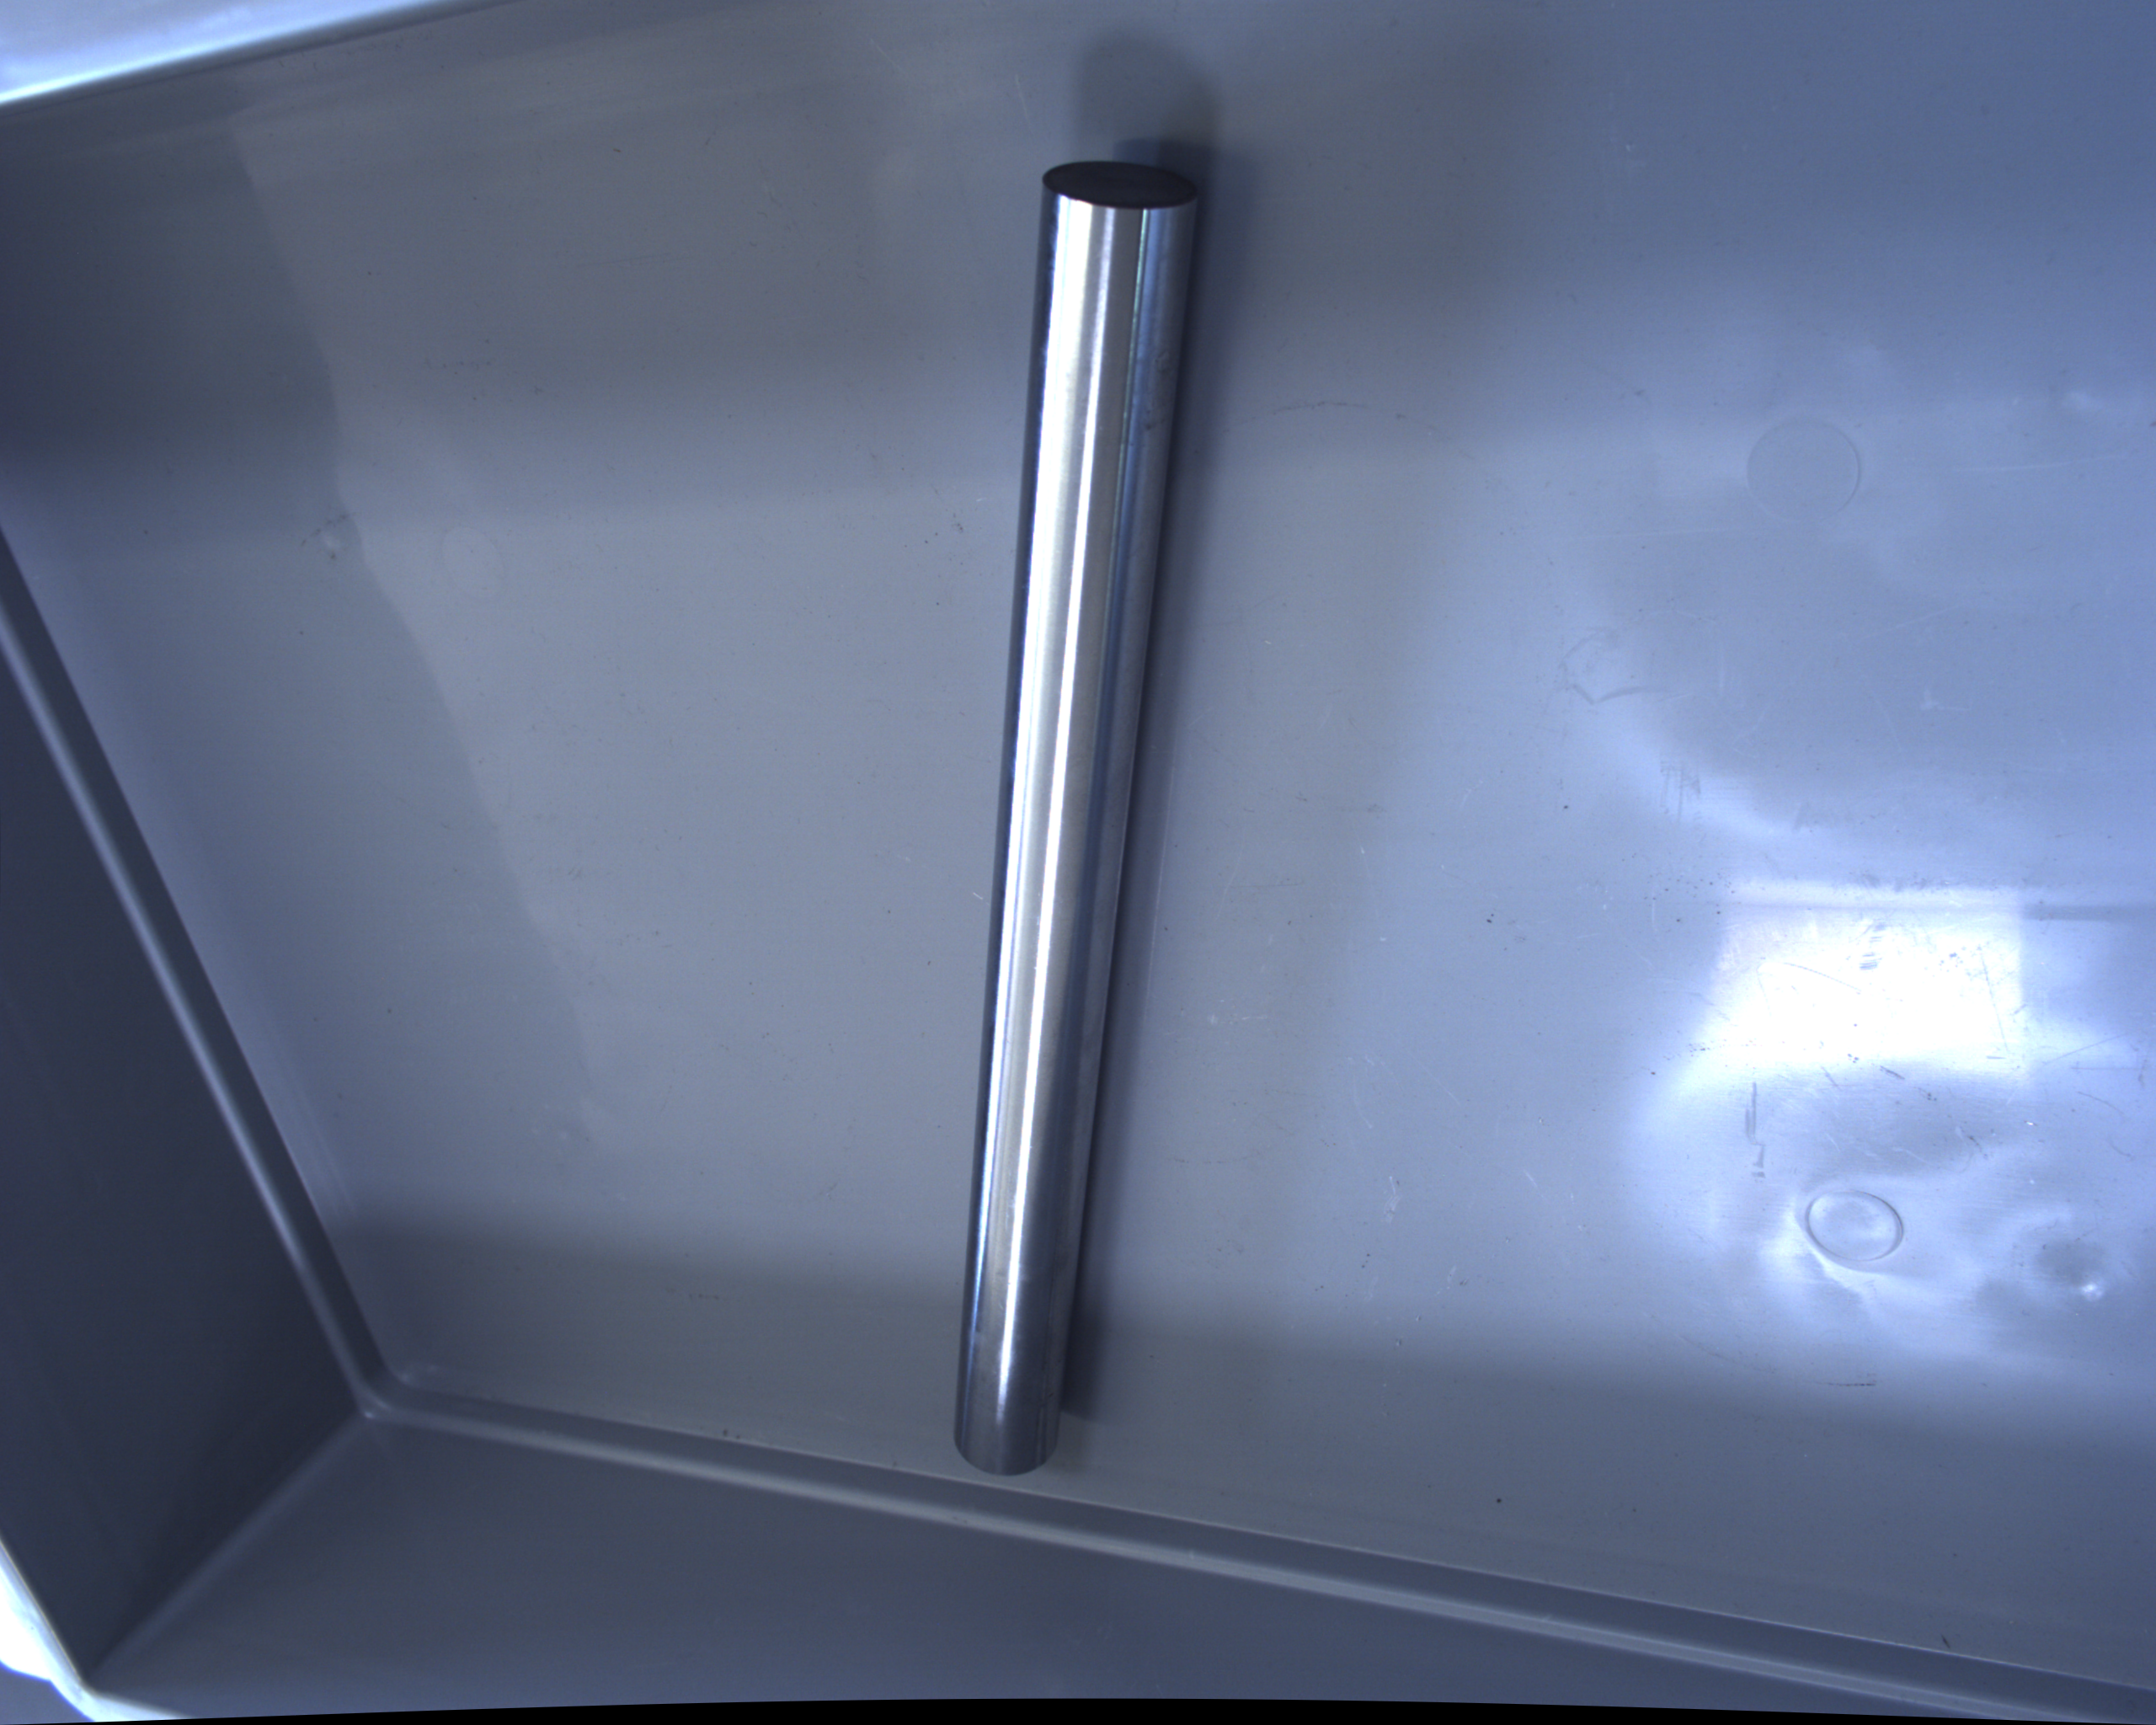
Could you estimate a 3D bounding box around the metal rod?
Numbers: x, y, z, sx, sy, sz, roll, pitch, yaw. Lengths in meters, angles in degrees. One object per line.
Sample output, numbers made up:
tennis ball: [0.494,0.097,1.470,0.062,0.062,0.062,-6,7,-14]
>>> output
metal rod: [-0.006,0.014,0.418,0.025,0.025,0.298,18,126,18]
